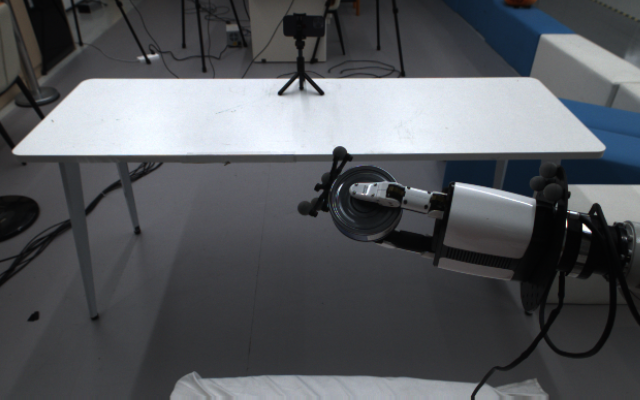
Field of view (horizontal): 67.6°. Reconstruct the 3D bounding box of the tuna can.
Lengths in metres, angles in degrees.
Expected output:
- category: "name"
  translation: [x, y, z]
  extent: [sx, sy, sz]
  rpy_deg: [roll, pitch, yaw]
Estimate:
- category: "tuna can"
  translation: [0.055, 0.001, 0.561]
  extent: [0.085, 0.034, 0.085]
  rpy_deg: [-2, 71, 5]
